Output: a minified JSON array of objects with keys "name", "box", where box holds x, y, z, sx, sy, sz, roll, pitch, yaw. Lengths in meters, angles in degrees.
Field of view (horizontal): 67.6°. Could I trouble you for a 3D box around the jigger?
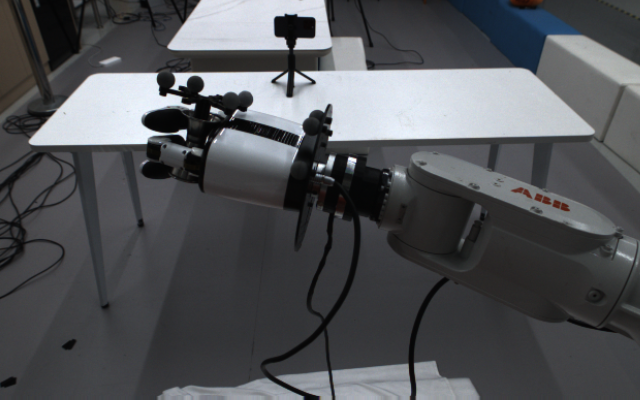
[{"name":"jigger","box":[-0.131,-0.057,0.518,0.043,0.071,0.043,15,17,-4]}]
